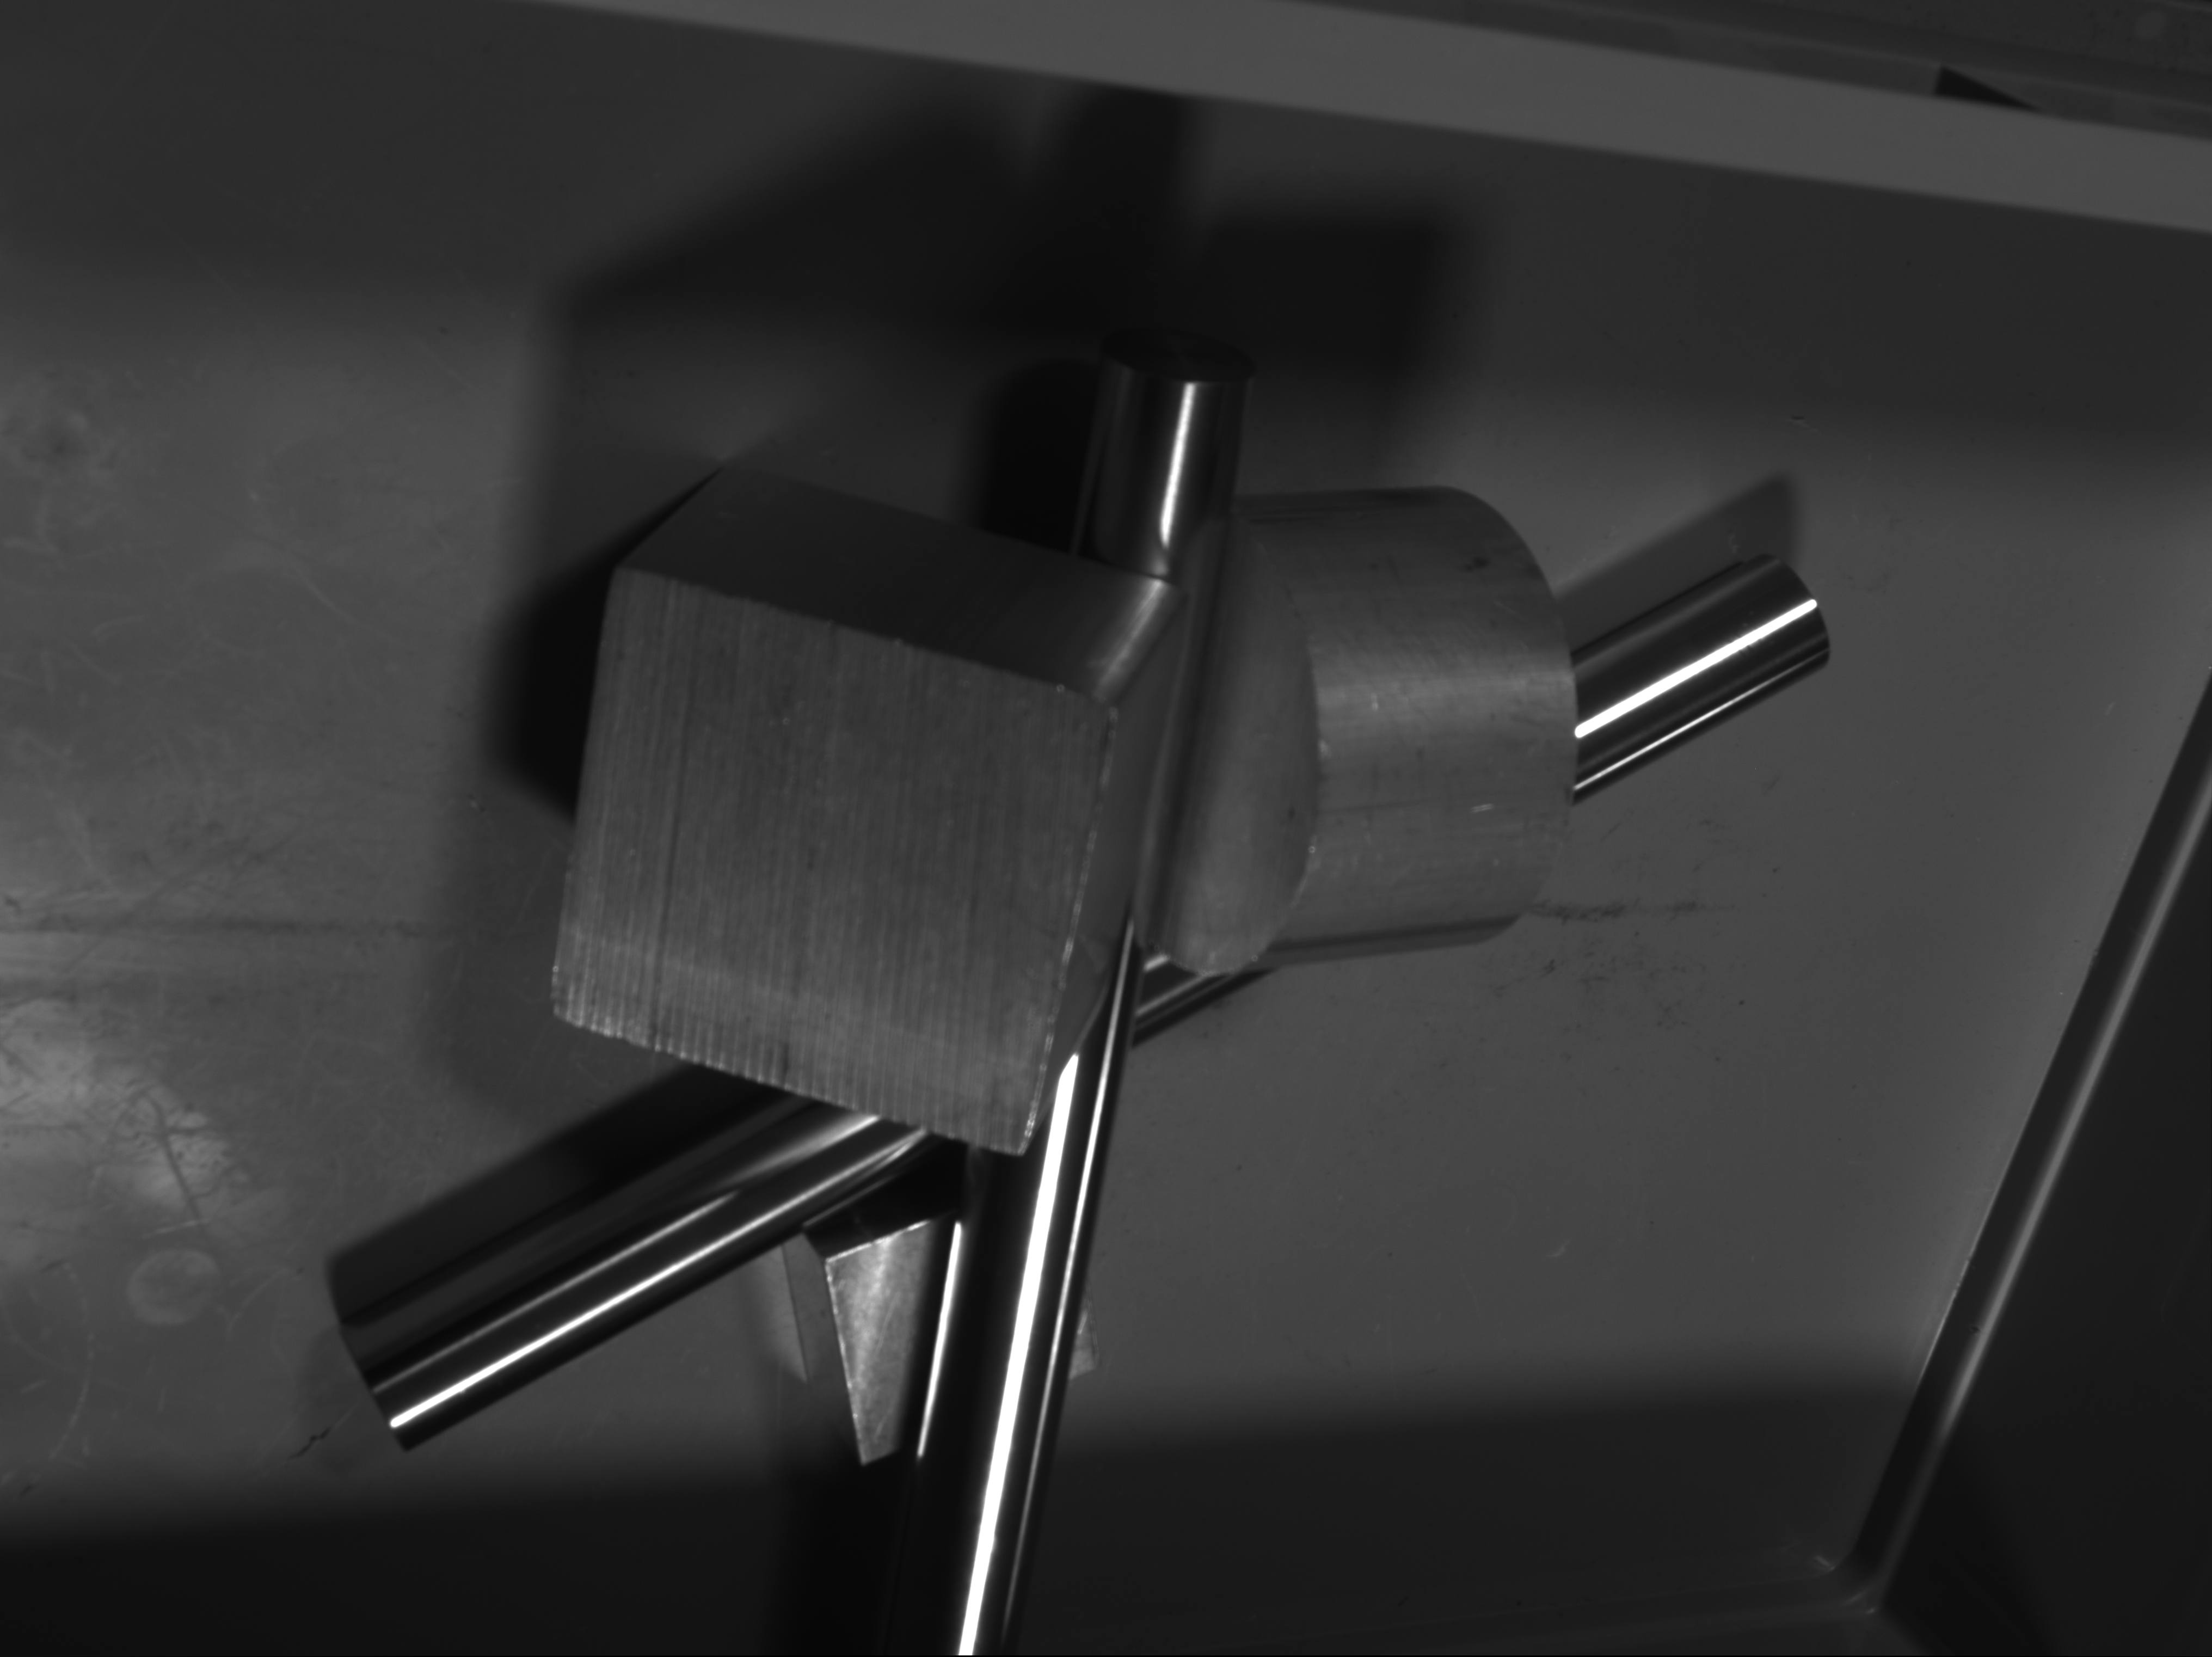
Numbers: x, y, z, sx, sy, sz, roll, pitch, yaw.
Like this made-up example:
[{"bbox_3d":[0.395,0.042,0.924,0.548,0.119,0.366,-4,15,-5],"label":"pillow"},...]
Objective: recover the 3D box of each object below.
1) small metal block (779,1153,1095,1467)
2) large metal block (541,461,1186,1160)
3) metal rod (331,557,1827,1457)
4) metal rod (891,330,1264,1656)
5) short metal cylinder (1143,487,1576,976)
[{"bbox_3d":[-0.032,0.084,0.683,0.050,0.025,0.050,-20,126,-19],"label":"small metal block"},{"bbox_3d":[-0.039,-0.004,0.583,0.080,0.050,0.080,16,116,8],"label":"large metal block"},{"bbox_3d":[0.001,0.029,0.667,0.300,0.025,0.025,-28,129,-13],"label":"metal rod"},{"bbox_3d":[-0.011,0.058,0.645,0.025,0.025,0.300,-5,119,-28],"label":"metal rod"},{"bbox_3d":[0.036,-0.017,0.623,0.050,0.080,0.080,-5,121,-29],"label":"short metal cylinder"}]
